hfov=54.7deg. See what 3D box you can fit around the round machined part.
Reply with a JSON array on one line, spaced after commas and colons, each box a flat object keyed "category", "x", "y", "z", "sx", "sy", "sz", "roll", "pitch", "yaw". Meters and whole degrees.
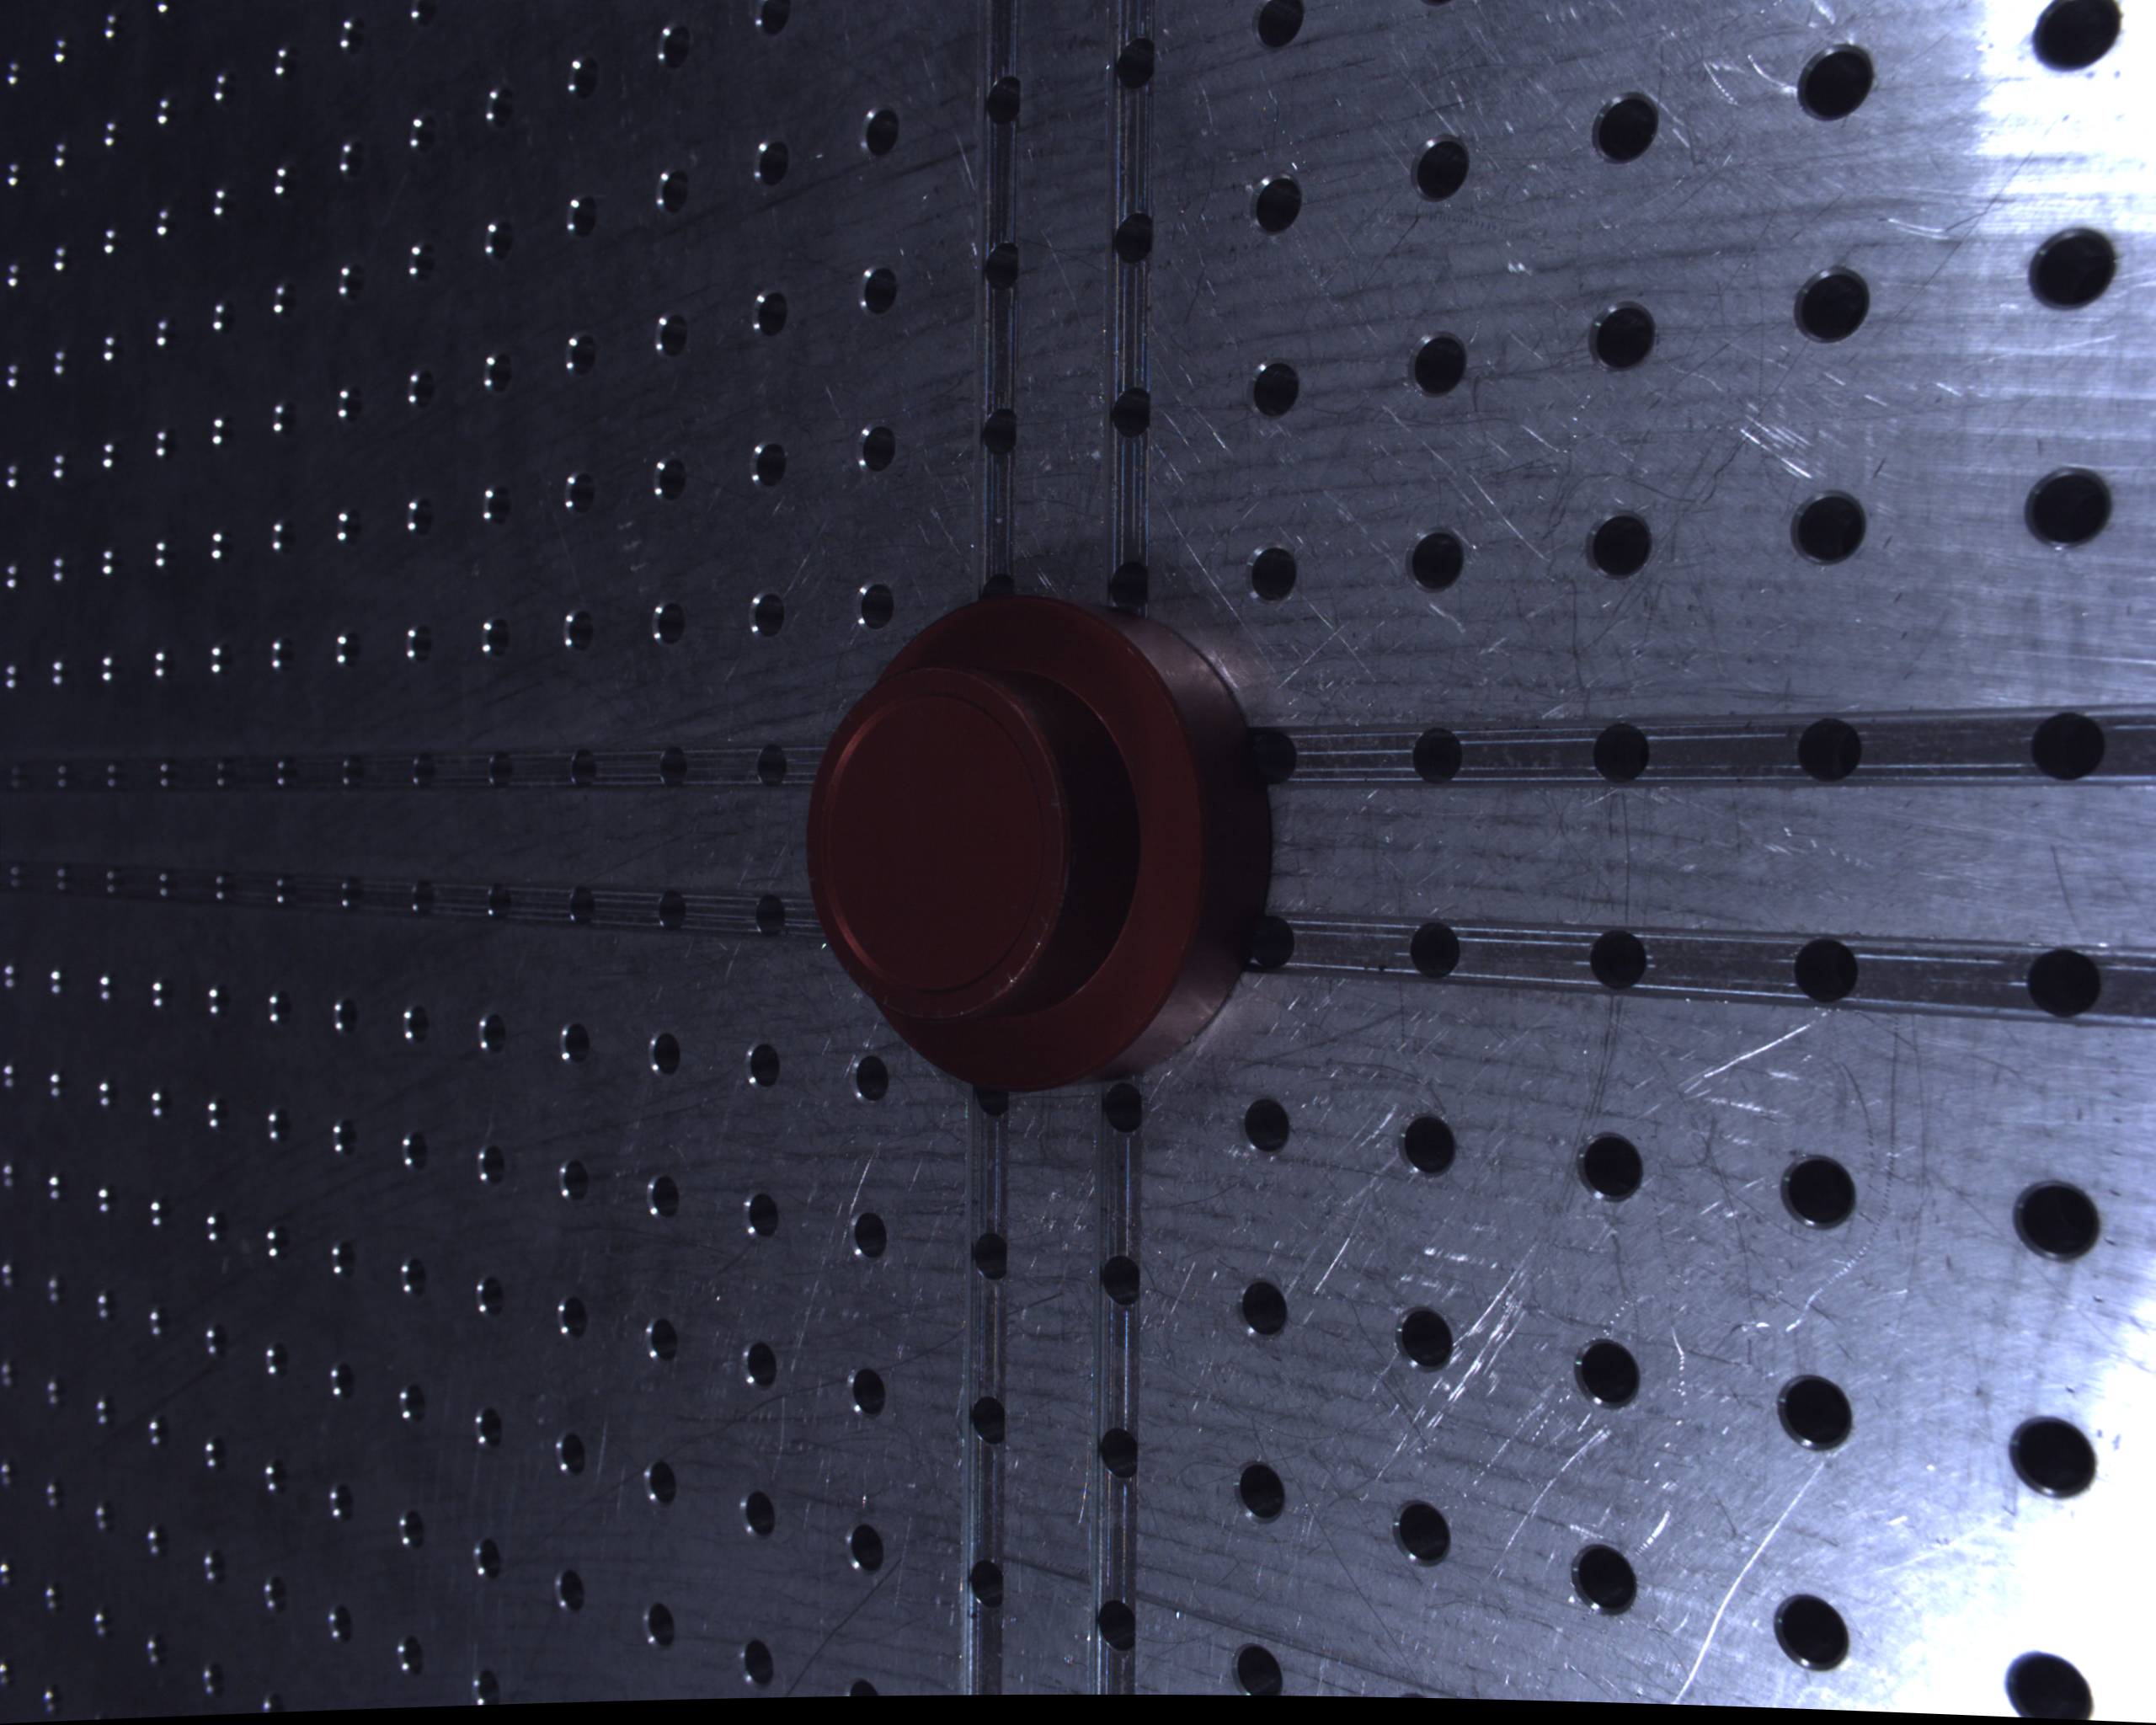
[{"category": "round machined part", "x": -0.015, "y": -0.004, "z": 0.408, "sx": 0.098, "sy": 0.042, "sz": 0.097, "roll": 0, "pitch": 90, "yaw": 39}]
